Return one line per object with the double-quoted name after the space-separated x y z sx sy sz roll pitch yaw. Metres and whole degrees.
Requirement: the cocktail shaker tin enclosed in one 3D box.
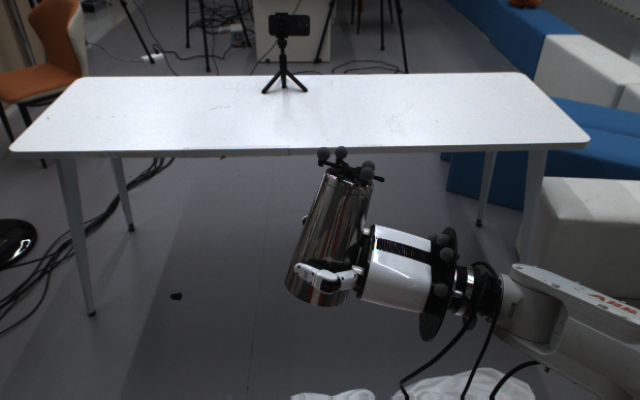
0.017 0.046 0.652 0.093 0.170 0.093 14 20 -5 "cocktail shaker tin"
